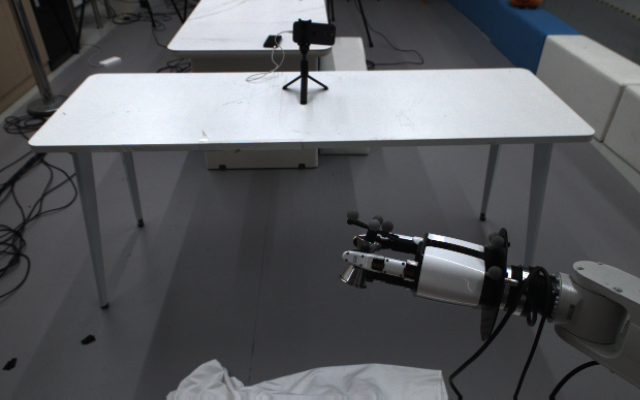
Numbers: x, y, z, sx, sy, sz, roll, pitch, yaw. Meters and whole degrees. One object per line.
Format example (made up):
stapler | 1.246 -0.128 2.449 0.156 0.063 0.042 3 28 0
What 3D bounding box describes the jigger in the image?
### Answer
jigger | 0.059 0.089 0.710 0.043 0.071 0.043 22 6 -2
